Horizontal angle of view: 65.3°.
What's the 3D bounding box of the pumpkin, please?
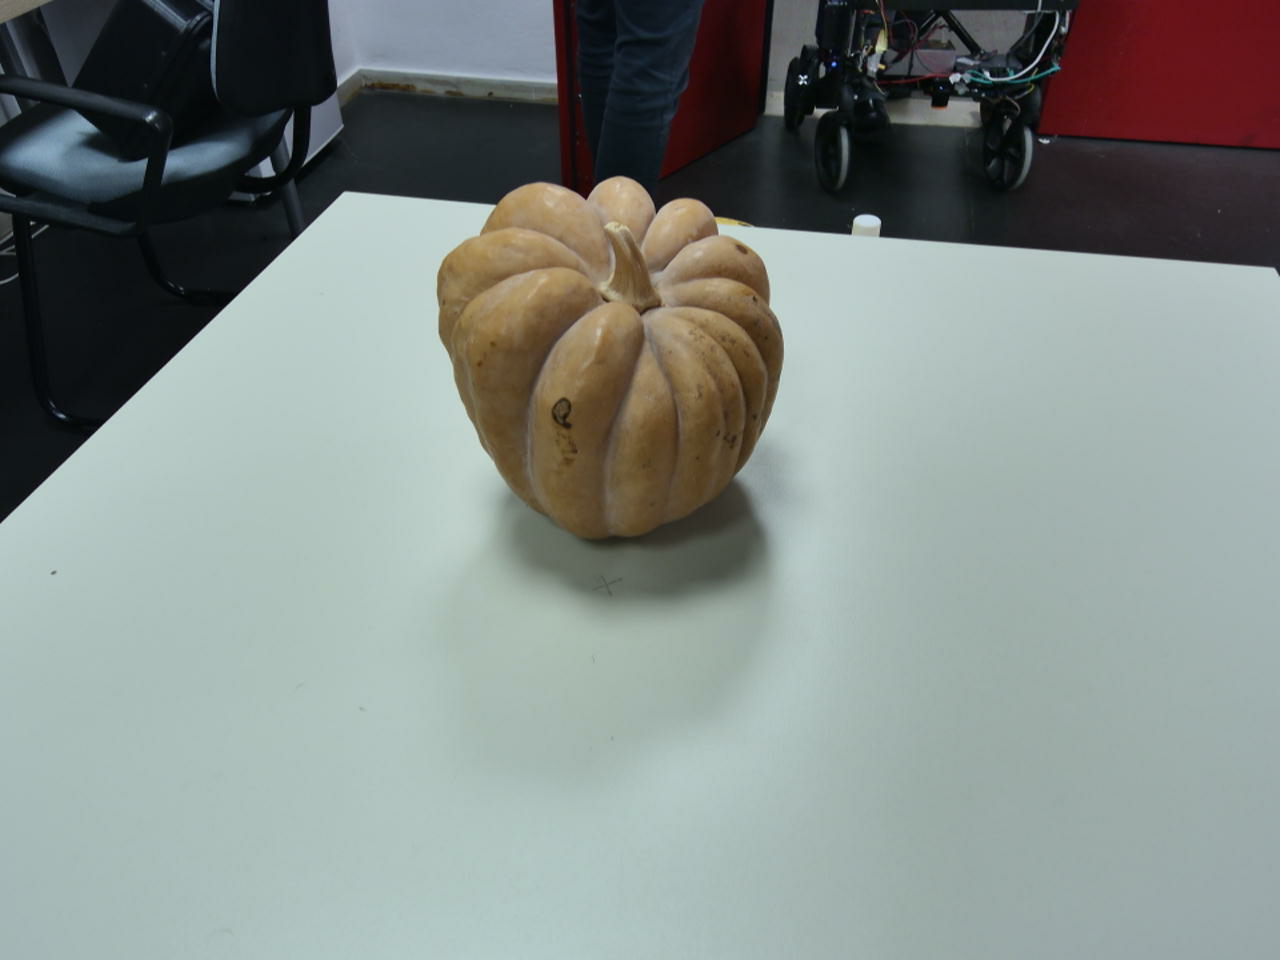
[{"bbox_3d":[-0.015,-0.066,0.556,0.199,0.177,0.198,0,39,0],"label":"pumpkin"}]
